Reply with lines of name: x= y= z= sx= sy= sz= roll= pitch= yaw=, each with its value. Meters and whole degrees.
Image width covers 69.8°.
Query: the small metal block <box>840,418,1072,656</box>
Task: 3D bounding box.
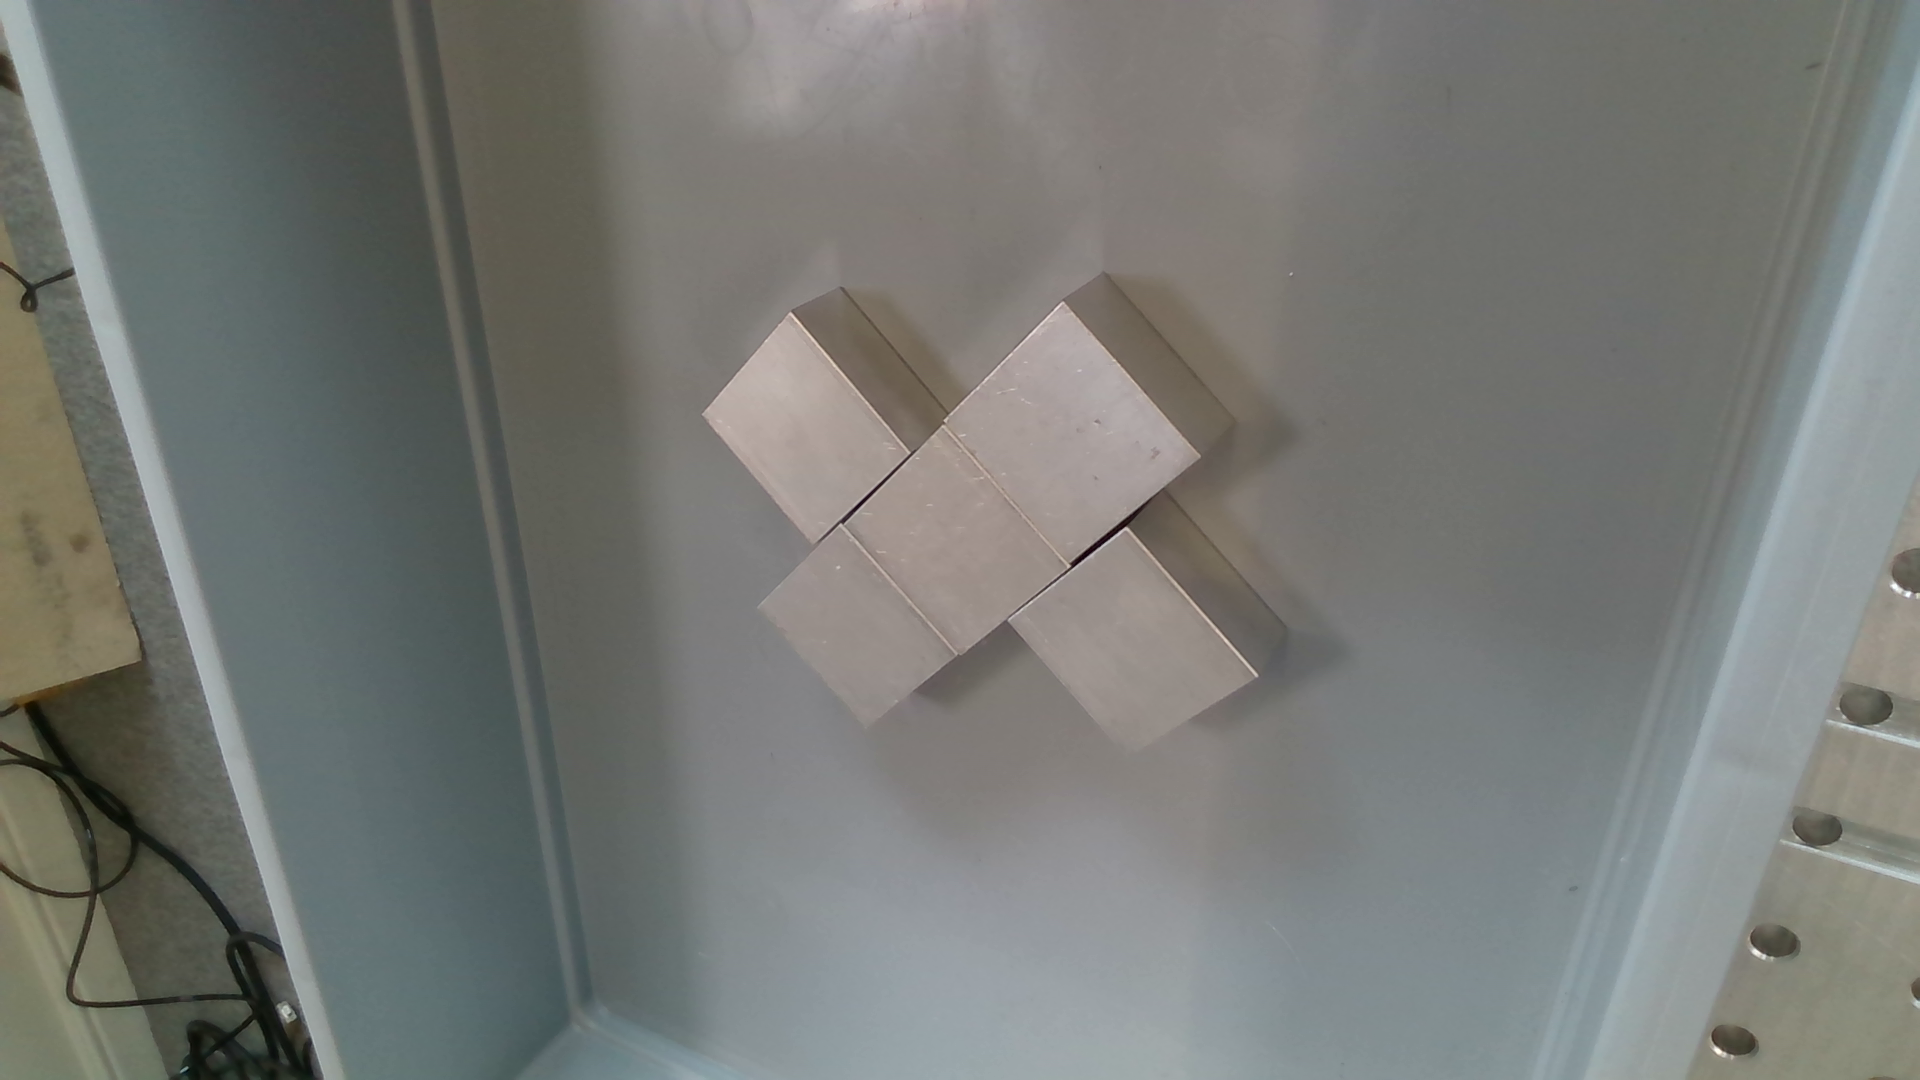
small metal block: x=0.003 y=-0.004 z=0.382 sx=0.050 sy=0.025 sz=0.050 roll=48 pitch=130 yaw=0

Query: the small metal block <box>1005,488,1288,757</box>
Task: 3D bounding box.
small metal block: x=0.049 y=0.022 z=0.368 sx=0.050 sy=0.025 sz=0.050 roll=48 pitch=130 yaw=-1

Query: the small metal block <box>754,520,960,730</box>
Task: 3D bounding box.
small metal block: x=-0.026 y=0.021 z=0.414 sx=0.050 sy=0.025 sz=0.050 roll=48 pitch=130 yaw=0

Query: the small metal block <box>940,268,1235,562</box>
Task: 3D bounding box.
small metal block: x=0.032 y=-0.031 z=0.350 sx=0.050 sy=0.025 sz=0.050 roll=48 pitch=130 yaw=0

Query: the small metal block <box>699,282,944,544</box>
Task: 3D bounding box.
small metal block: x=-0.039 y=-0.036 z=0.392 sx=0.050 sy=0.025 sz=0.050 roll=50 pitch=129 yaw=0
